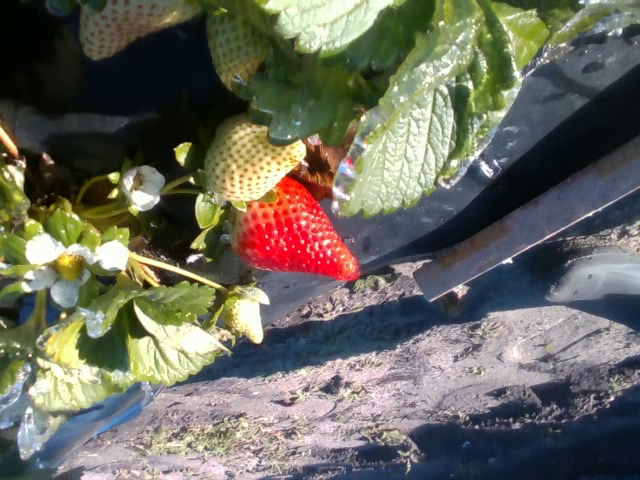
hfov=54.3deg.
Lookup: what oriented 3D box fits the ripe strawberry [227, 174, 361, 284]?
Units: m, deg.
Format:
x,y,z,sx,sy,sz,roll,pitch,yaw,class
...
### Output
x,y,z,sx,sy,sz,roll,pitch,yaw,class
-0.007,0.000,0.225,0.053,0.042,0.040,32,-19,4,ripe strawberry
